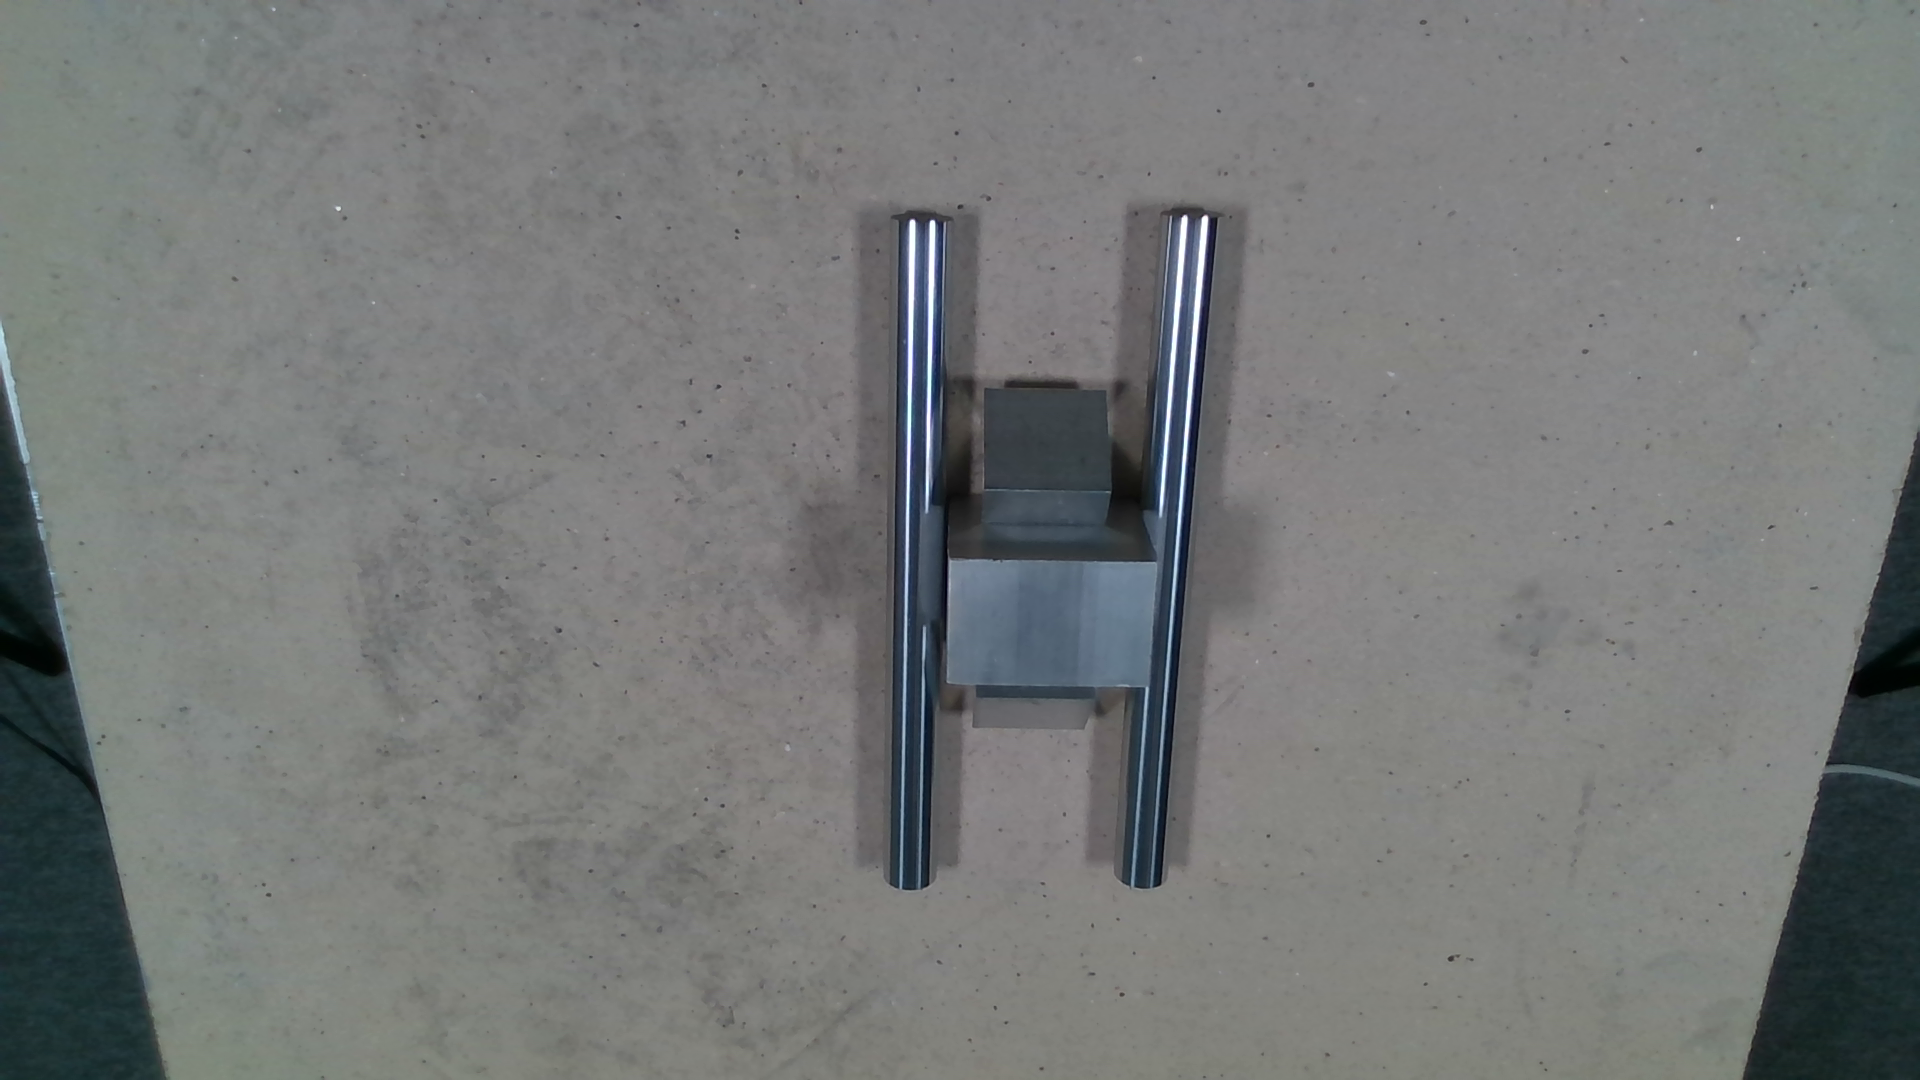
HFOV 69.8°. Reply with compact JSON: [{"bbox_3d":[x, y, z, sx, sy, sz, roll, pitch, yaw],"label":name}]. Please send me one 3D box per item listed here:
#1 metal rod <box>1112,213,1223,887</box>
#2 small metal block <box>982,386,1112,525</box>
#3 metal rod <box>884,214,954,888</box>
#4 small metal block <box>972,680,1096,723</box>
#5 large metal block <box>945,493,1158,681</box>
[{"bbox_3d":[0.087,0.014,0.590,0.025,0.025,0.301,1,110,0],"label":"metal rod"},{"bbox_3d":[0.034,-0.034,0.557,0.050,0.050,0.025,1,149,0],"label":"small metal block"},{"bbox_3d":[-0.019,0.014,0.590,0.025,0.025,0.301,2,110,-1],"label":"metal rod"},{"bbox_3d":[0.031,0.062,0.593,0.050,0.050,0.025,1,68,-1],"label":"small metal block"},{"bbox_3d":[0.034,0.017,0.564,0.080,0.080,0.050,1,110,0],"label":"large metal block"}]
